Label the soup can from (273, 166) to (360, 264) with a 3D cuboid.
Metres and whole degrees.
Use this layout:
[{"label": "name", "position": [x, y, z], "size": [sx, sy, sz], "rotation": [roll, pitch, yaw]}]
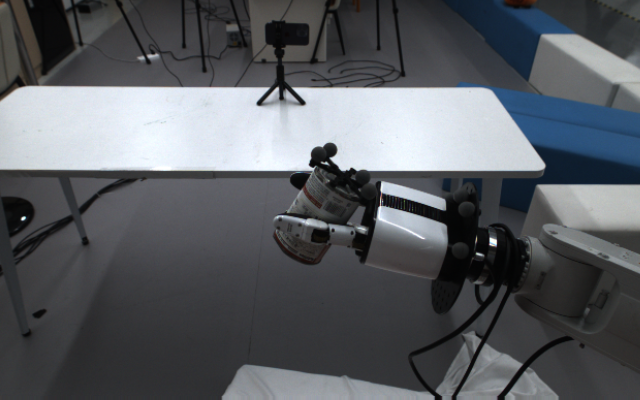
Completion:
[{"label": "soup can", "position": [0.000, 0.017, 0.572], "size": [0.067, 0.101, 0.067], "rotation": [28, 22, -12]}]
